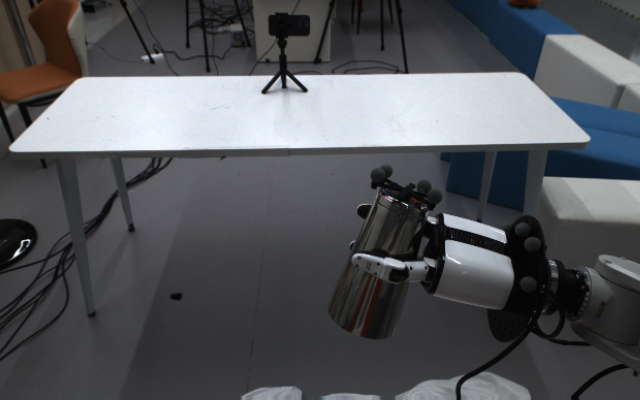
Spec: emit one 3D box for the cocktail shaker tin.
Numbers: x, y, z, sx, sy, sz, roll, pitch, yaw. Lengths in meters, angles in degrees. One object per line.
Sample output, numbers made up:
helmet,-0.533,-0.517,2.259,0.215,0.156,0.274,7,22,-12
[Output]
cocktail shaker tin,0.078,0.074,0.603,0.093,0.170,0.093,15,17,-5
